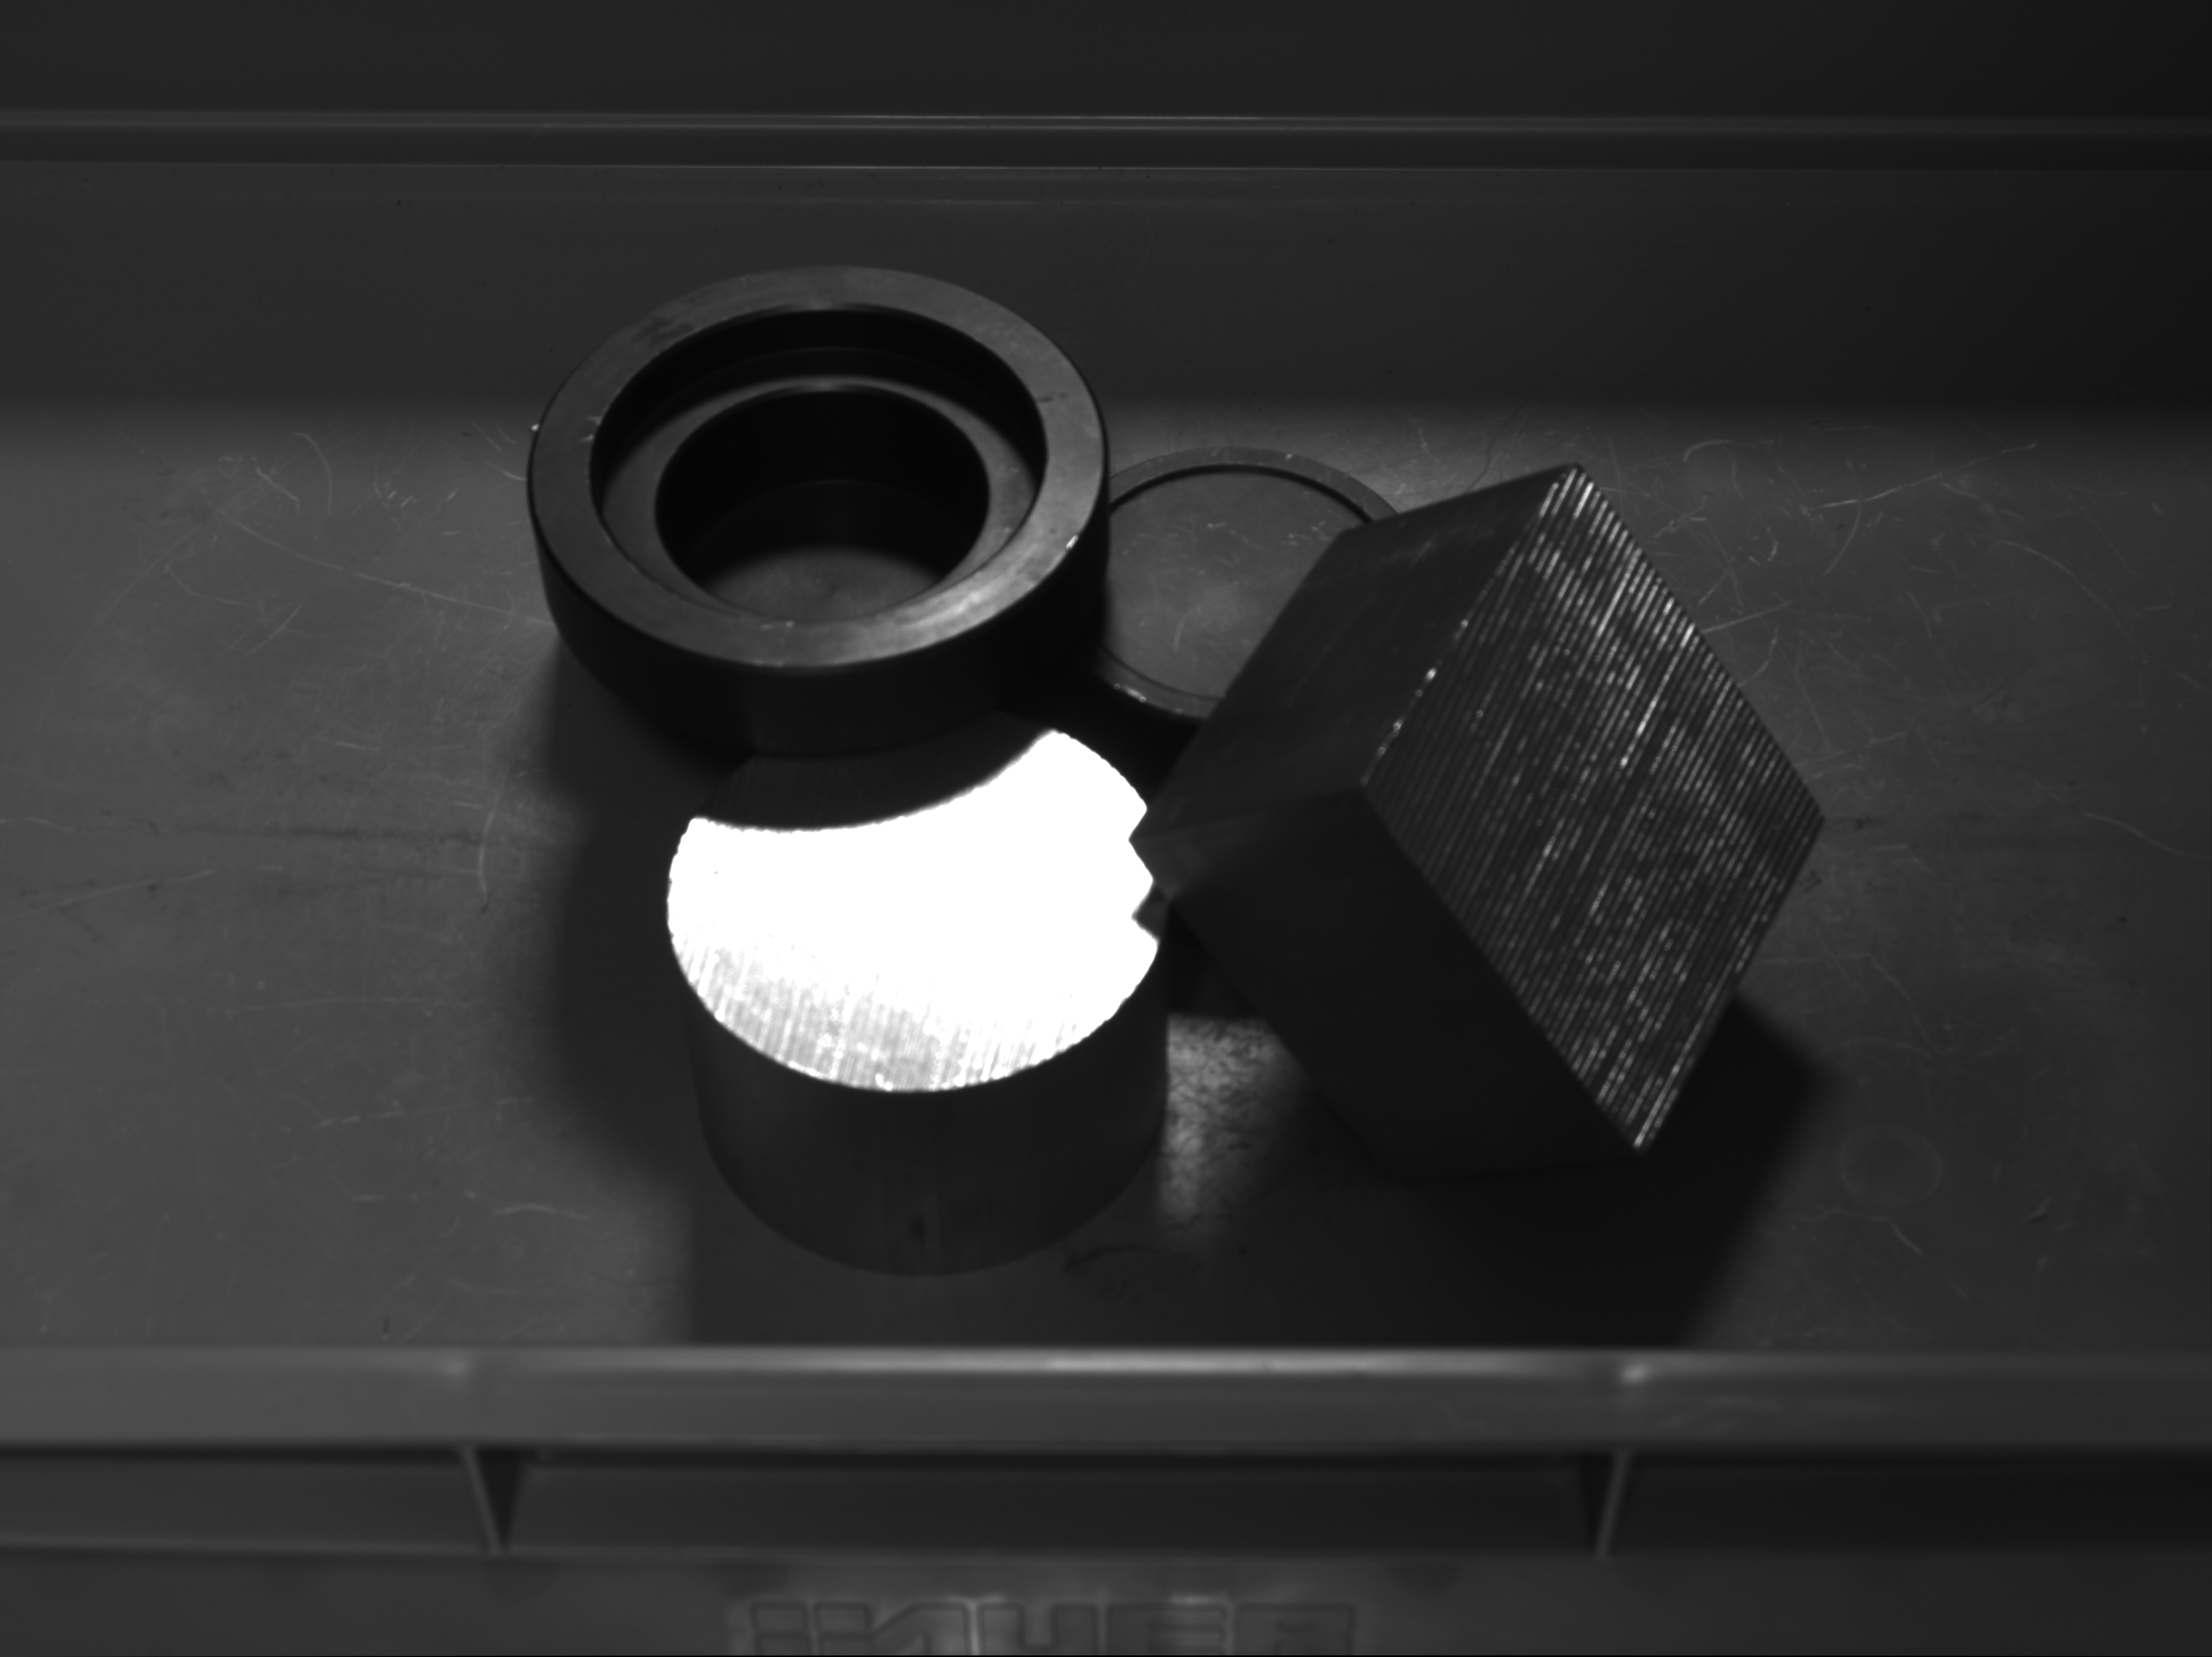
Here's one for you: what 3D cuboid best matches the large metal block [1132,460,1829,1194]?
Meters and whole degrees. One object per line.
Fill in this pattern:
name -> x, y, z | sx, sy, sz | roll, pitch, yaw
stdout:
large metal block -> 0.063, 0.001, 0.595 | 0.050, 0.080, 0.080 | -13, 33, 47

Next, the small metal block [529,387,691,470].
small metal block -> -0.076, -0.063, 0.676 | 0.025, 0.050, 0.050 | 37, 59, 27

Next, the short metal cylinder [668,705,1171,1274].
short metal cylinder -> -0.030, 0.026, 0.602 | 0.080, 0.050, 0.080 | 0, 50, 0

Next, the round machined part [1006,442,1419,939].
round machined part -> 0.023, -0.031, 0.653 | 0.098, 0.042, 0.098 | 0, 50, 0

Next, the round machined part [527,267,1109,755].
round machined part -> -0.048, -0.049, 0.633 | 0.098, 0.042, 0.098 | 0, 50, 0
